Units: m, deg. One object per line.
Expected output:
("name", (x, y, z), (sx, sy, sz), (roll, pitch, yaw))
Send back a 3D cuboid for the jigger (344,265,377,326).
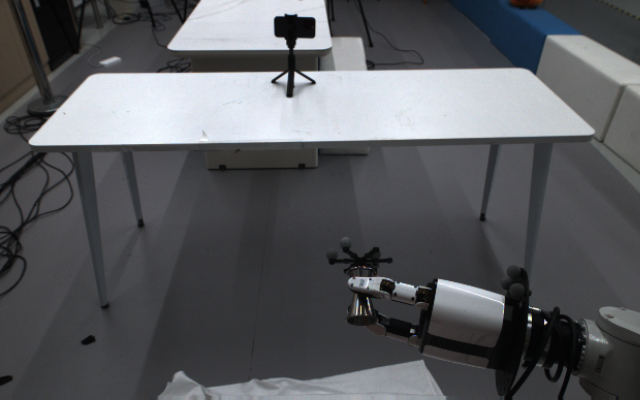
("jigger", (0.056, 0.125, 0.644), (0.043, 0.043, 0.071), (2, 59, 0))
